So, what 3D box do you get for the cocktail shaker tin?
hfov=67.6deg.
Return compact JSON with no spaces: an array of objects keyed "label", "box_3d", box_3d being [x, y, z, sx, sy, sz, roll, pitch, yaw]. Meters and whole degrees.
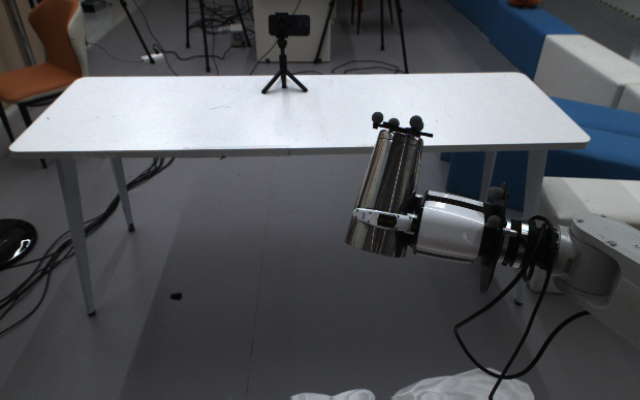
[{"label":"cocktail shaker tin","box_3d":[0.099,-0.011,0.709,0.093,0.170,0.093,13,4,-1]}]
